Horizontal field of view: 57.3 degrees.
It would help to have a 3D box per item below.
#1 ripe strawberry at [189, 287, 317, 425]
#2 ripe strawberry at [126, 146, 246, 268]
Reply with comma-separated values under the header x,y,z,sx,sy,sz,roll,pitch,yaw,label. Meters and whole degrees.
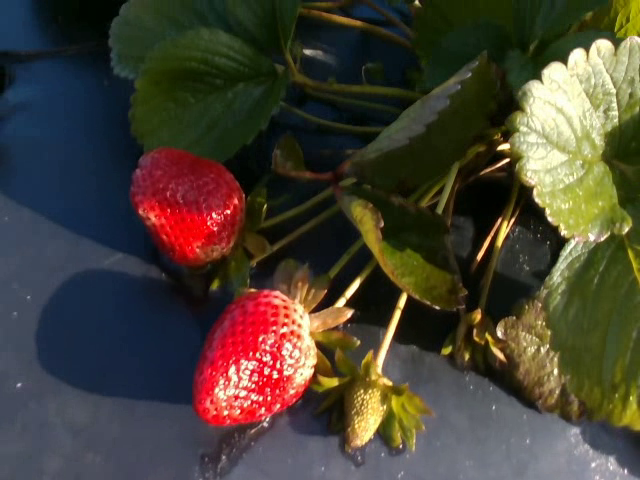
x,y,z,sx,sy,sz,roll,pitch,yaw,label
-0.022,0.038,0.187,0.038,0.043,0.053,-44,-3,38,ripe strawberry
-0.050,-0.012,0.228,0.054,0.048,0.039,27,-14,-26,ripe strawberry
